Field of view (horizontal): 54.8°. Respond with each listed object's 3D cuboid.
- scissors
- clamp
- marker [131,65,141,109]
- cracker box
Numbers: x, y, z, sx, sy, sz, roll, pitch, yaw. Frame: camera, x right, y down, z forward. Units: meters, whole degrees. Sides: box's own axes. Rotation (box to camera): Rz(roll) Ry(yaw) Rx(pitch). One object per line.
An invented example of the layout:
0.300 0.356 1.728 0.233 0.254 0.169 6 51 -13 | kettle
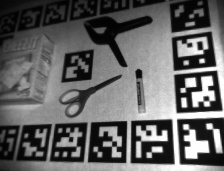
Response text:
-0.071 0.010 0.613 0.202 0.016 0.087 -32 62 4 | scissors
-0.015 -0.169 0.665 0.200 0.037 0.165 26 80 26 | clamp
0.062 0.001 0.566 0.019 0.020 0.120 -9 67 18 | marker
-0.294 -0.053 0.691 0.163 0.073 0.213 -4 69 19 | cracker box
